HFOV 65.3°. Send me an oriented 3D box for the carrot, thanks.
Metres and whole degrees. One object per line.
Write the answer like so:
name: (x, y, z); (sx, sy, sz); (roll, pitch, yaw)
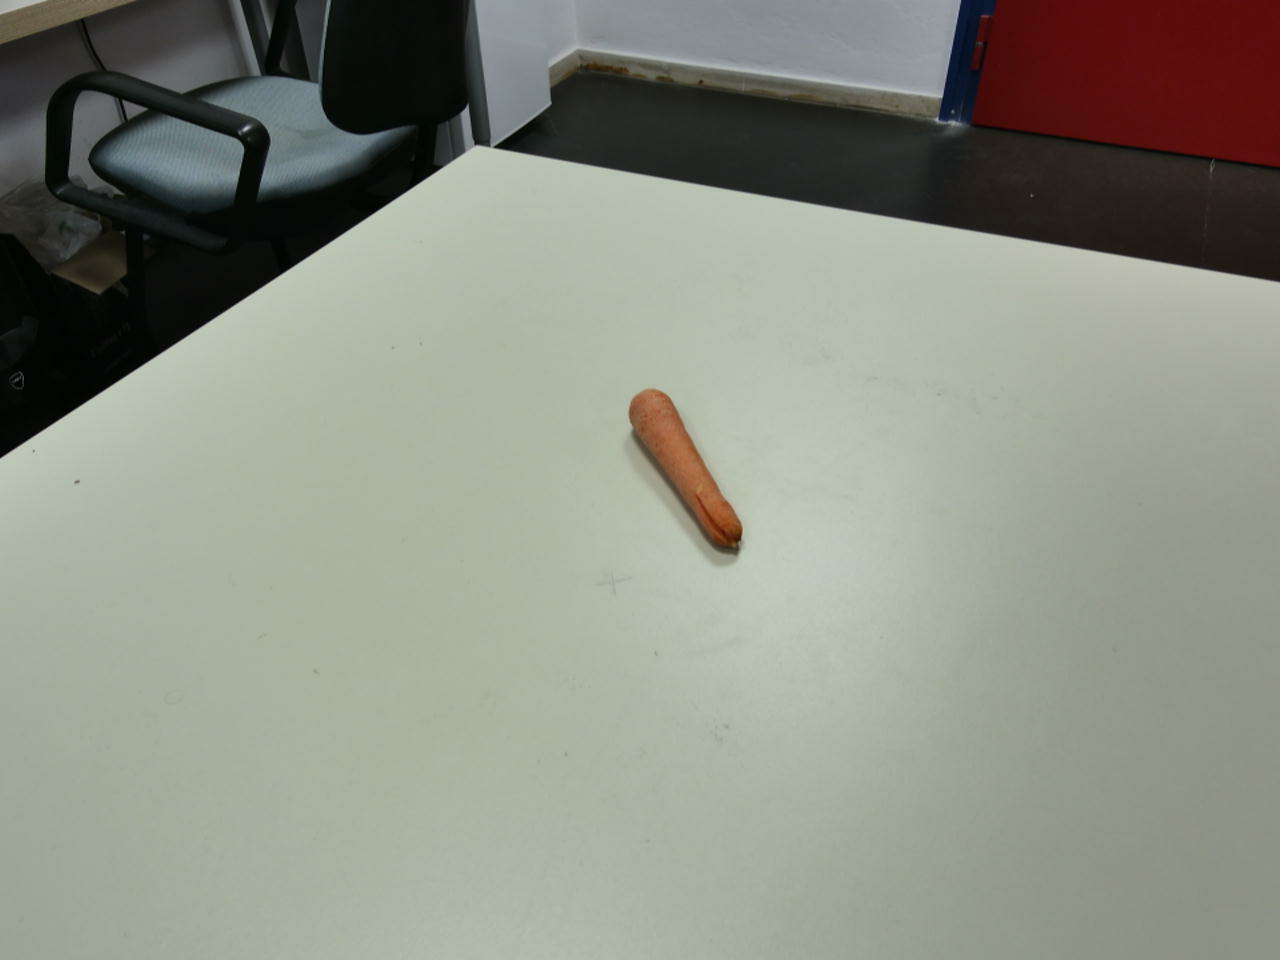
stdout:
carrot: (0.024, -0.011, 0.575); (0.030, 0.032, 0.136); (-13, 39, -15)
